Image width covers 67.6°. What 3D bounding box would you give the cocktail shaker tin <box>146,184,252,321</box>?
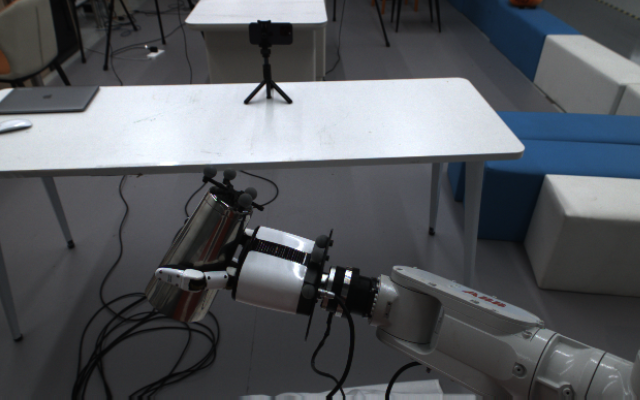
[{"bbox_3d":[-0.157,0.067,0.654,0.093,0.170,0.093,28,14,-8],"label":"cocktail shaker tin"}]
